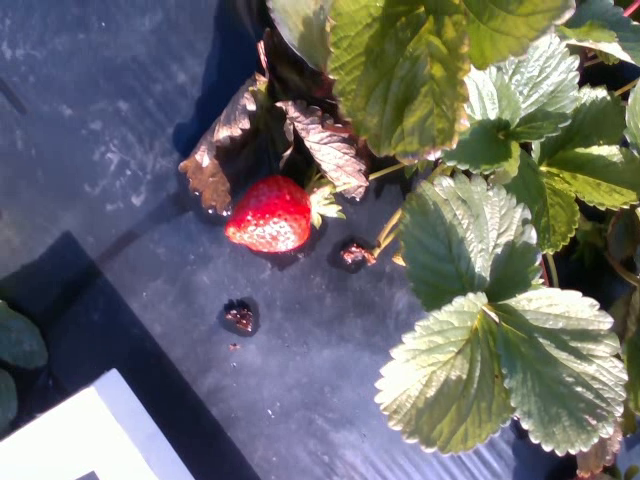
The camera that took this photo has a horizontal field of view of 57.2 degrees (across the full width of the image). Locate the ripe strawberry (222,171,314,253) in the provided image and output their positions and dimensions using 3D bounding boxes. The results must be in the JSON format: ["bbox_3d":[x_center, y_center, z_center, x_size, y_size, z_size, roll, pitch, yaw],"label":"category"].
[{"bbox_3d":[-0.030,-0.006,0.256,0.054,0.047,0.037,-20,15,-18],"label":"ripe strawberry"}]
